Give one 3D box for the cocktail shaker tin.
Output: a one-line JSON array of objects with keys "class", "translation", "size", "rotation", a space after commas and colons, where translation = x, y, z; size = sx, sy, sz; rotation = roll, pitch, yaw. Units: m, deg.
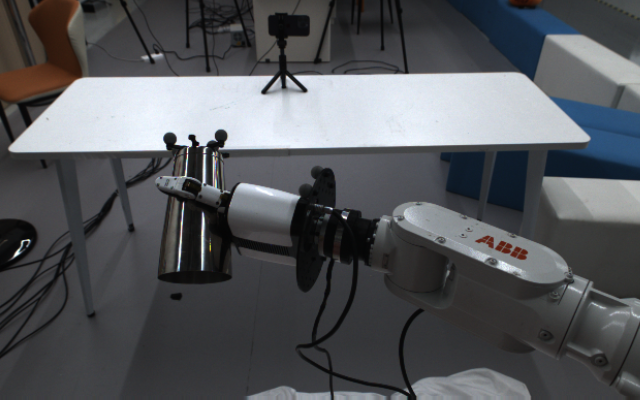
[{"class": "cocktail shaker tin", "translation": [-0.163, 0.020, 0.639], "size": [0.093, 0.093, 0.170], "rotation": [-2, 71, -6]}]
